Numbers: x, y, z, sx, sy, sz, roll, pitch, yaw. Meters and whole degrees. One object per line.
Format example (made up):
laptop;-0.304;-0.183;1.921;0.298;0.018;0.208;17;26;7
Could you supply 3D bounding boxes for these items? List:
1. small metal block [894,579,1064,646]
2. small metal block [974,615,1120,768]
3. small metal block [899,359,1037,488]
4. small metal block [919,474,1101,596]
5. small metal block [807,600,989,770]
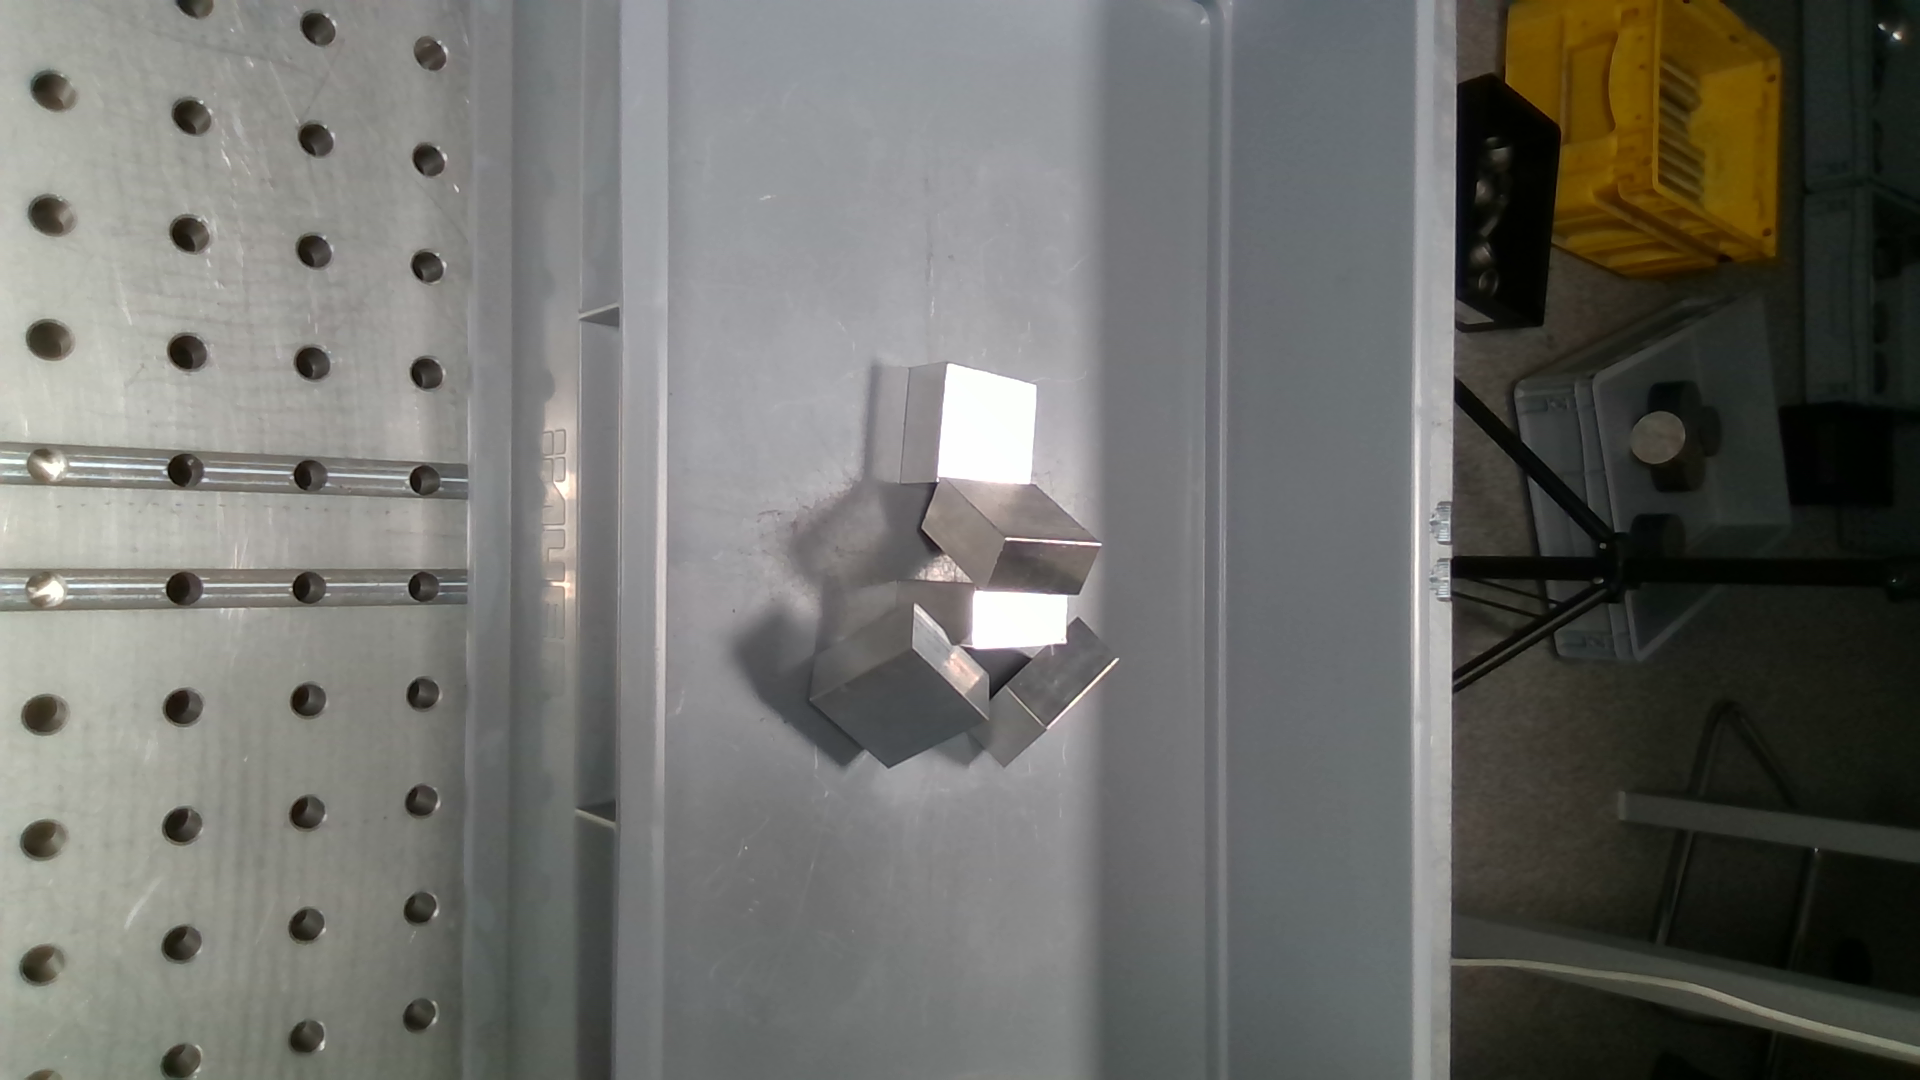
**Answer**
small metal block;0.008;0.029;0.572;0.050;0.050;0.025;1;89;-40
small metal block;0.035;0.066;0.591;0.025;0.050;0.050;46;57;7
small metal block;0.004;-0.046;0.583;0.050;0.025;0.050;8;85;-40
small metal block;0.020;-0.002;0.558;0.050;0.050;0.025;3;119;-37
small metal block;-0.024;0.058;0.542;0.050;0.050;0.025;46;27;-31
